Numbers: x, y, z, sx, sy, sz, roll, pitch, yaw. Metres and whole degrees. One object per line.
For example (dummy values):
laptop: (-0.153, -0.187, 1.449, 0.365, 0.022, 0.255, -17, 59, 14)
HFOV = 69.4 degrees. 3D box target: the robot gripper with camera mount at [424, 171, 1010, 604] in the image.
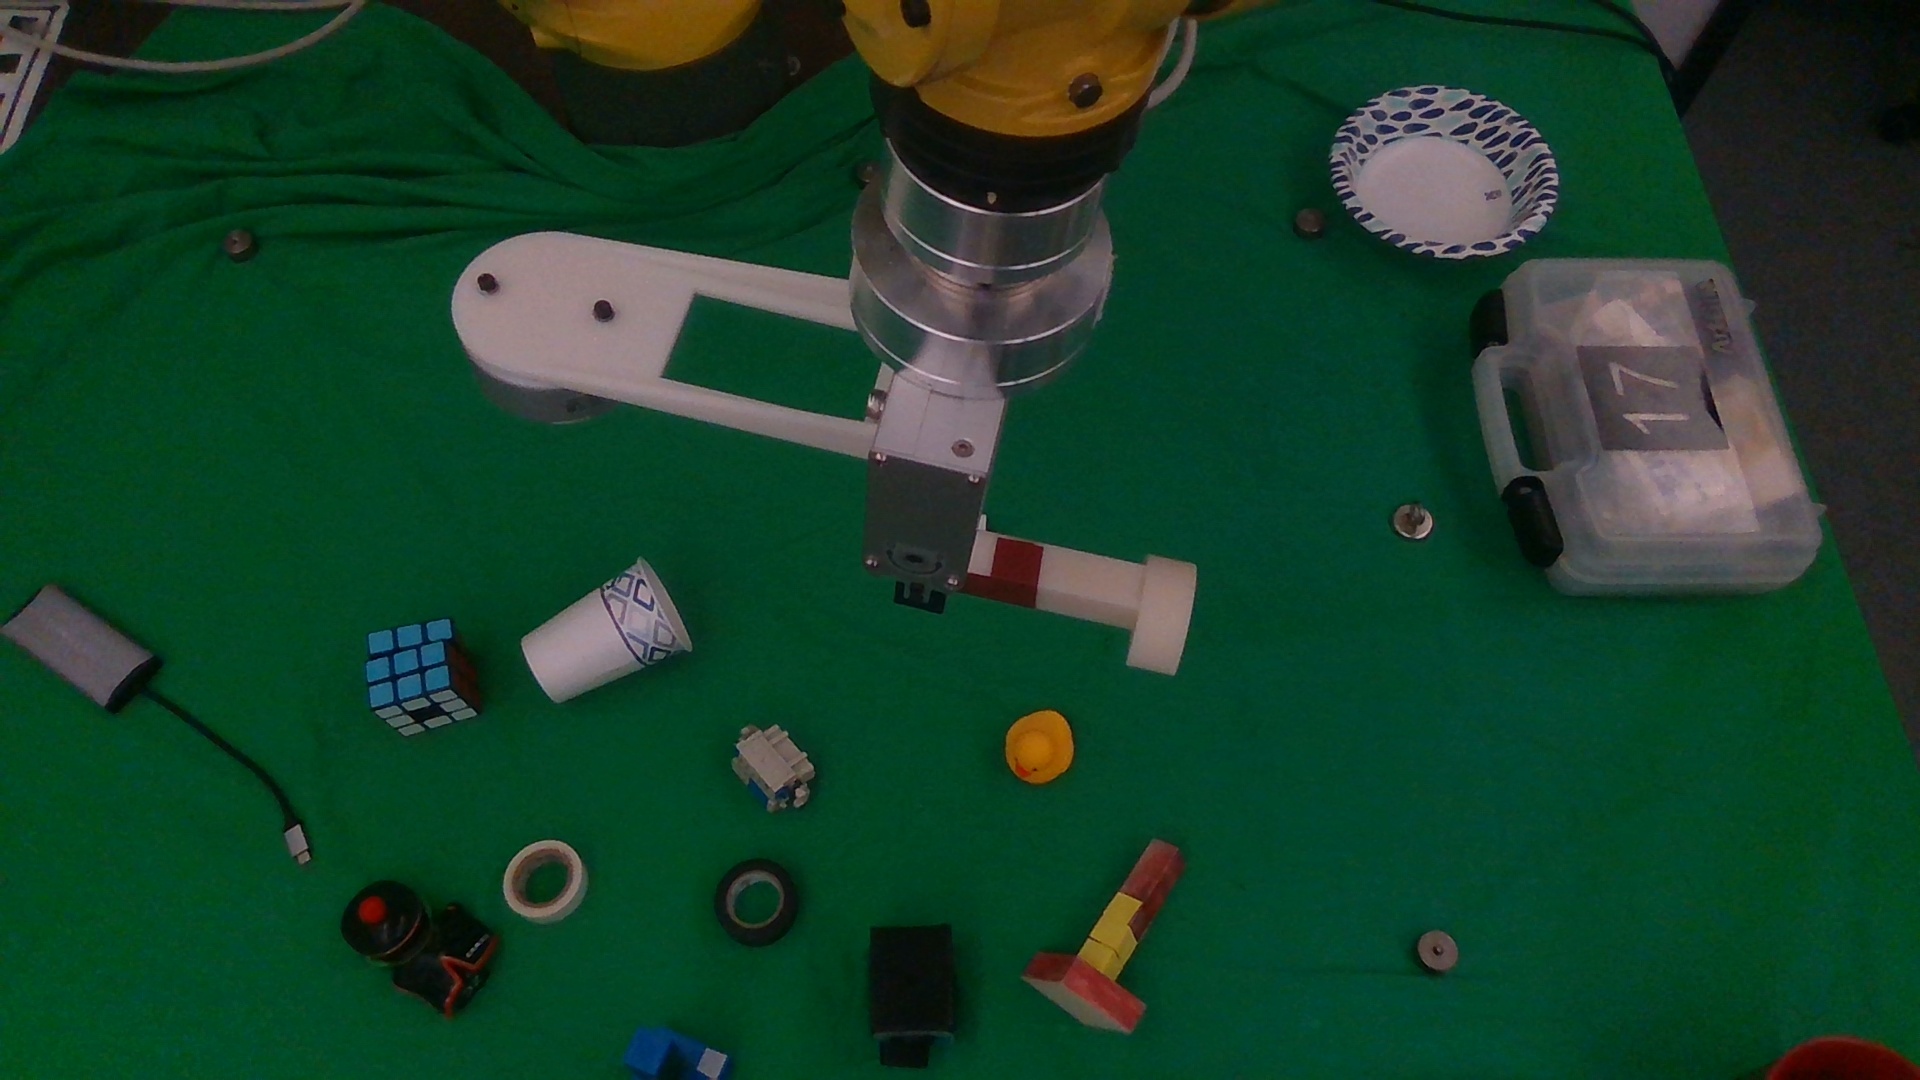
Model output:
robot gripper with camera mount: (-0.094, -0.046, 0.504, 0.193, 0.158, 0.119, 11, 60, 3)

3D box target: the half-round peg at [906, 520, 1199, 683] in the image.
half-round peg: (0.033, 0.017, 0.558, 0.122, 0.031, 0.054, 13, 59, 5)
